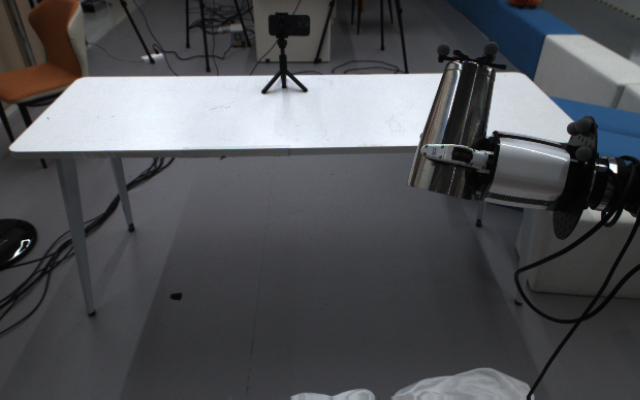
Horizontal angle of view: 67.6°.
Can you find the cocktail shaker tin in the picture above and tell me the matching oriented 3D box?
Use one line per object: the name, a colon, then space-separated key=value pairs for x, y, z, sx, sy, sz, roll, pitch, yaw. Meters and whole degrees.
cocktail shaker tin: x=0.182 y=-0.092 z=0.650 sx=0.093 sy=0.170 sz=0.093 roll=13 pitch=4 yaw=-1
